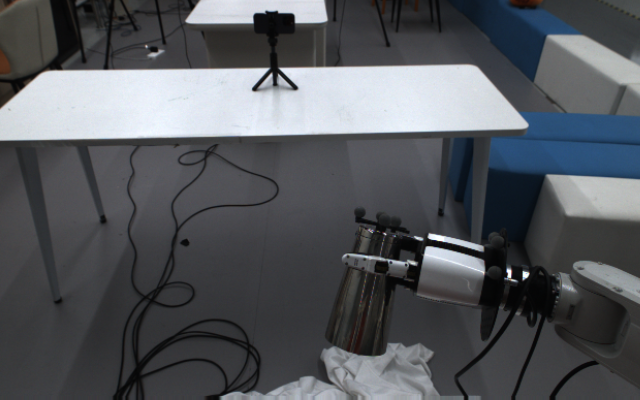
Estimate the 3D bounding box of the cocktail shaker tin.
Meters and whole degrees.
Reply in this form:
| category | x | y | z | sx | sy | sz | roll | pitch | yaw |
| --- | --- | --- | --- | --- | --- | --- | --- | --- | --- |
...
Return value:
| category | x | y | z | sx | sy | sz | roll | pitch | yaw |
| --- | --- | --- | --- | --- | --- | --- | --- | --- | --- |
| cocktail shaker tin | 0.072 | 0.125 | 0.710 | 0.093 | 0.170 | 0.093 | 13 | 3 | -1 |
